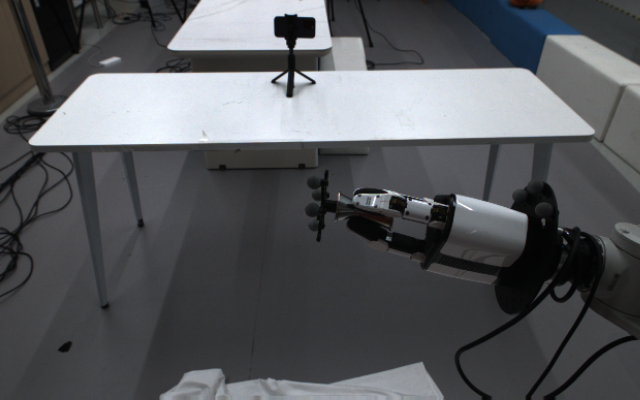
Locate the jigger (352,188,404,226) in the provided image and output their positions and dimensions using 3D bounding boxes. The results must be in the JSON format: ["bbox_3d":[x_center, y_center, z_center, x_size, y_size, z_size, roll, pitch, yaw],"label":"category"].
[{"bbox_3d":[0.062,0.007,0.589,0.071,0.043,0.043,5,35,3],"label":"jigger"}]
